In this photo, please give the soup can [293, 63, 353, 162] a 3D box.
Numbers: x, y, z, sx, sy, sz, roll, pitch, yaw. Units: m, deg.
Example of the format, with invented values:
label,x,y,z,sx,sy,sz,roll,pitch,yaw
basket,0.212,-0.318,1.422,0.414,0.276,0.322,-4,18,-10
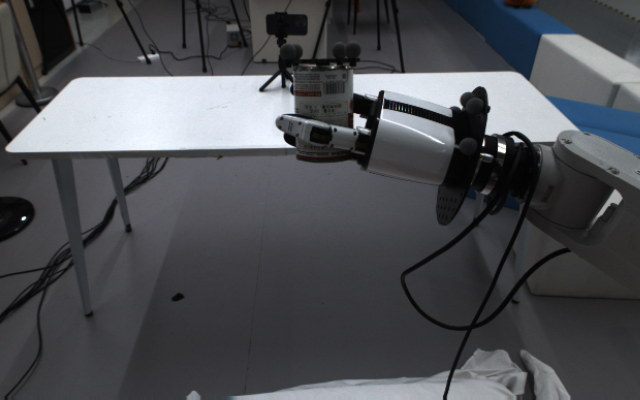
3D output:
label,x,y,z,sx,sy,sz,roll,pitch,yaw
soup can,0.006,-0.097,0.541,0.067,0.101,0.067,-1,17,0
